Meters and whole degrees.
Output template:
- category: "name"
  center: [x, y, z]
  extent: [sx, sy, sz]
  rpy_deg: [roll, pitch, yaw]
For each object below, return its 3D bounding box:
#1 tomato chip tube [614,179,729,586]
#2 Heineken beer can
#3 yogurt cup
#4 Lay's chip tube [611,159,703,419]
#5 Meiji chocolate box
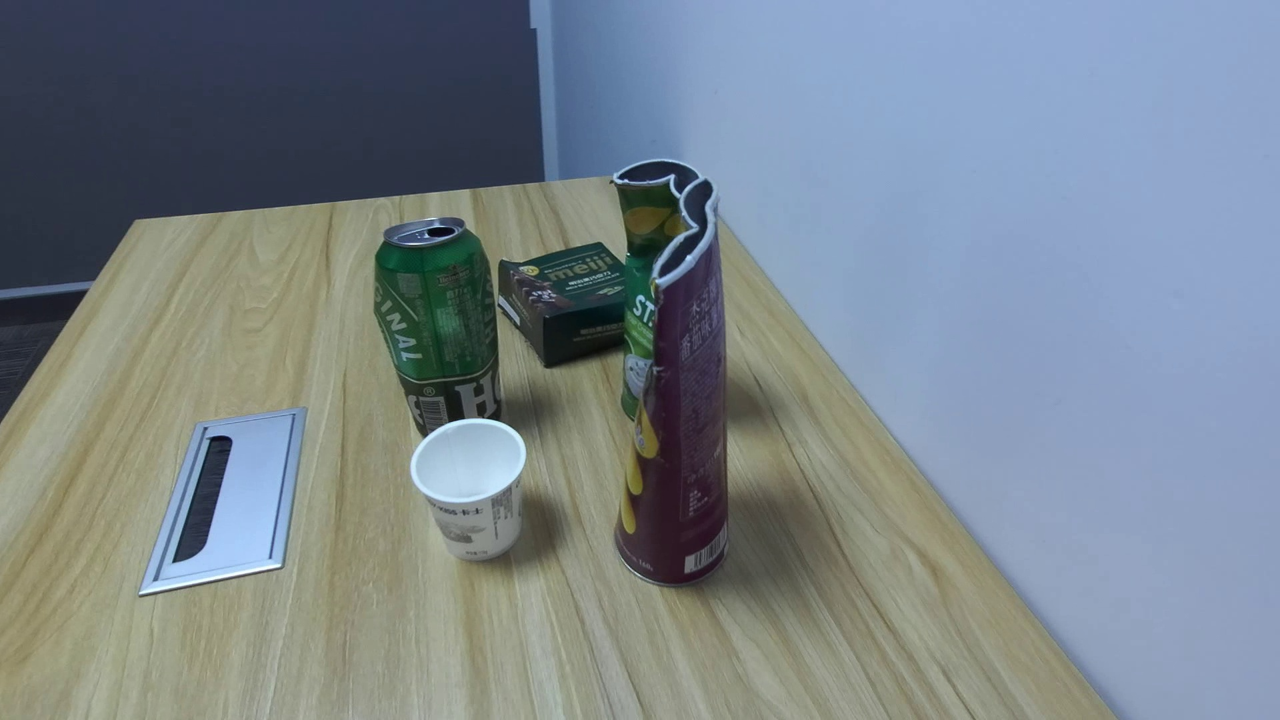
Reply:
- category: "tomato chip tube"
  center: [0.024, 0.026, 0.400]
  extent: [0.090, 0.236, 0.077]
  rpy_deg: [-24, 44, -25]
- category: "Heineken beer can"
  center: [-0.142, -0.017, 0.512]
  extent: [0.068, 0.168, 0.069]
  rpy_deg: [13, 35, 20]
- category: "yogurt cup"
  center: [-0.106, 0.087, 0.453]
  extent: [0.072, 0.068, 0.072]
  rpy_deg: [1, 38, 0]
- category: "Lay's chip tube"
  center: [0.019, -0.038, 0.504]
  extent: [0.077, 0.201, 0.069]
  rpy_deg: [9, 33, 16]
- category: "Meiji chocolate box"
  center: [-0.060, -0.056, 0.665]
  extent: [0.116, 0.058, 0.122]
  rpy_deg: [-16, 42, -26]
